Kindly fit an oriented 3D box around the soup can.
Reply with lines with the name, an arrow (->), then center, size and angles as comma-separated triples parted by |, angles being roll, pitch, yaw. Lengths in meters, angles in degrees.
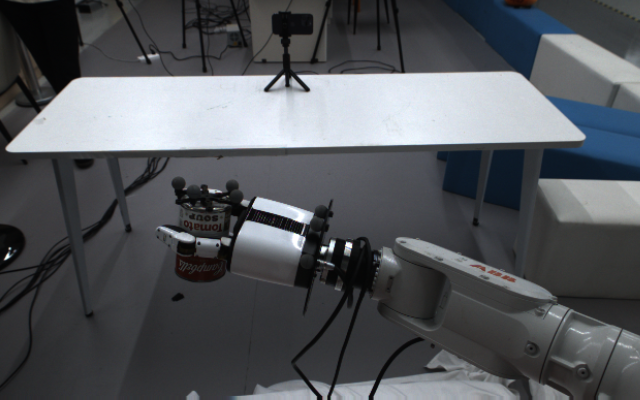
soup can -> -0.153, 0.049, 0.637 | 0.067, 0.101, 0.067 | 8, 19, -3
